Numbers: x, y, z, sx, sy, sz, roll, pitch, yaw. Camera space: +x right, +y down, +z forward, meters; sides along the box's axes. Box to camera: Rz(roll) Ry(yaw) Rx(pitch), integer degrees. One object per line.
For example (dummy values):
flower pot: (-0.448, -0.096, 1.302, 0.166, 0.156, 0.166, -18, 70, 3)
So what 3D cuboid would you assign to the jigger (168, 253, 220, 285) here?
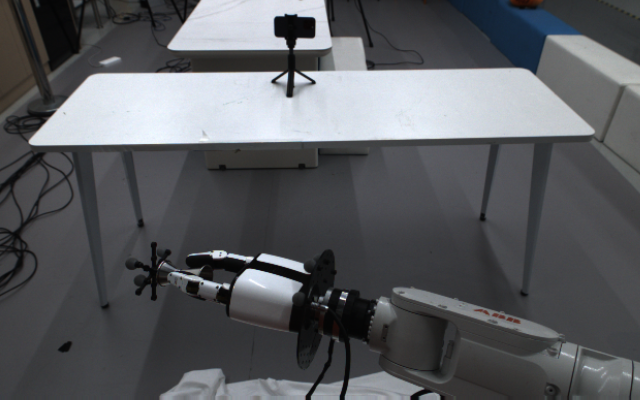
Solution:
jigger: (-0.186, 0.105, 0.696, 0.071, 0.043, 0.043, 5, 34, 16)
